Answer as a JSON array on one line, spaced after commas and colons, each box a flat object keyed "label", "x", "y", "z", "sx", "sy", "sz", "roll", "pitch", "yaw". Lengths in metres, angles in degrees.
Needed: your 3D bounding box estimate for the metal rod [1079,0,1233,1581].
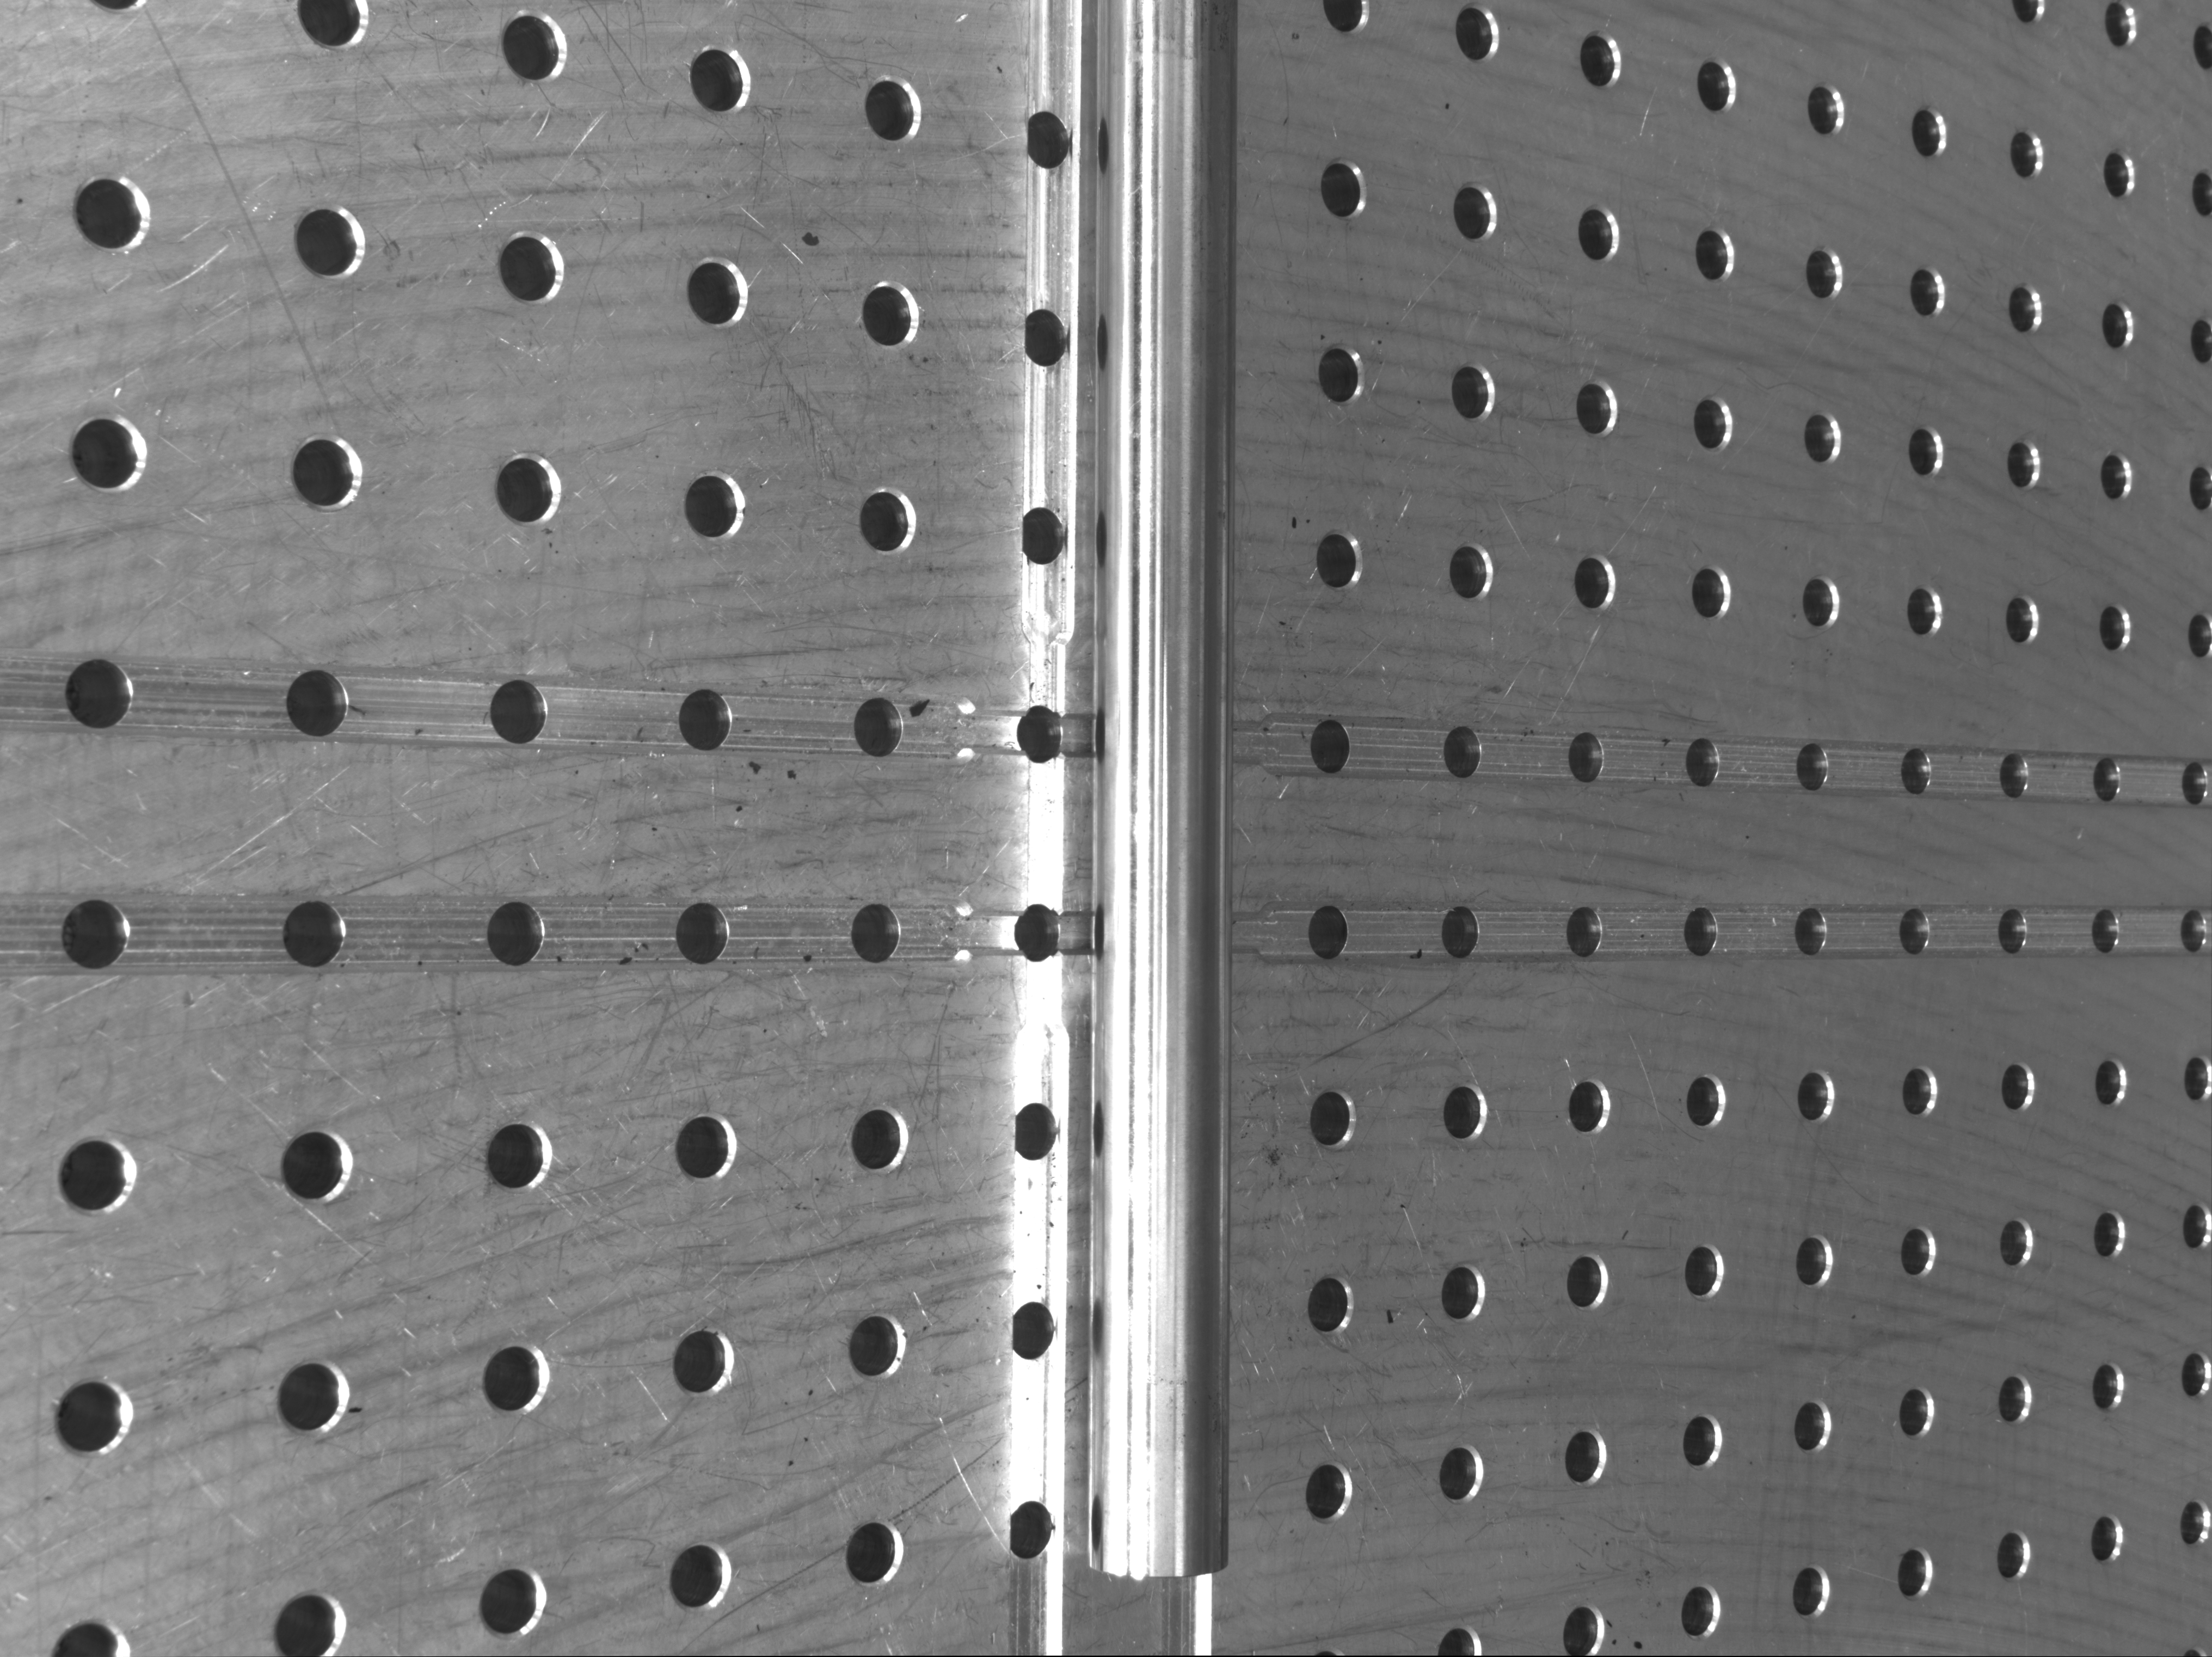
[{"label": "metal rod", "x": 0.009, "y": -0.020, "z": 0.647, "sx": 0.025, "sy": 0.025, "sz": 0.300, "roll": 1, "pitch": 90, "yaw": -40}]
